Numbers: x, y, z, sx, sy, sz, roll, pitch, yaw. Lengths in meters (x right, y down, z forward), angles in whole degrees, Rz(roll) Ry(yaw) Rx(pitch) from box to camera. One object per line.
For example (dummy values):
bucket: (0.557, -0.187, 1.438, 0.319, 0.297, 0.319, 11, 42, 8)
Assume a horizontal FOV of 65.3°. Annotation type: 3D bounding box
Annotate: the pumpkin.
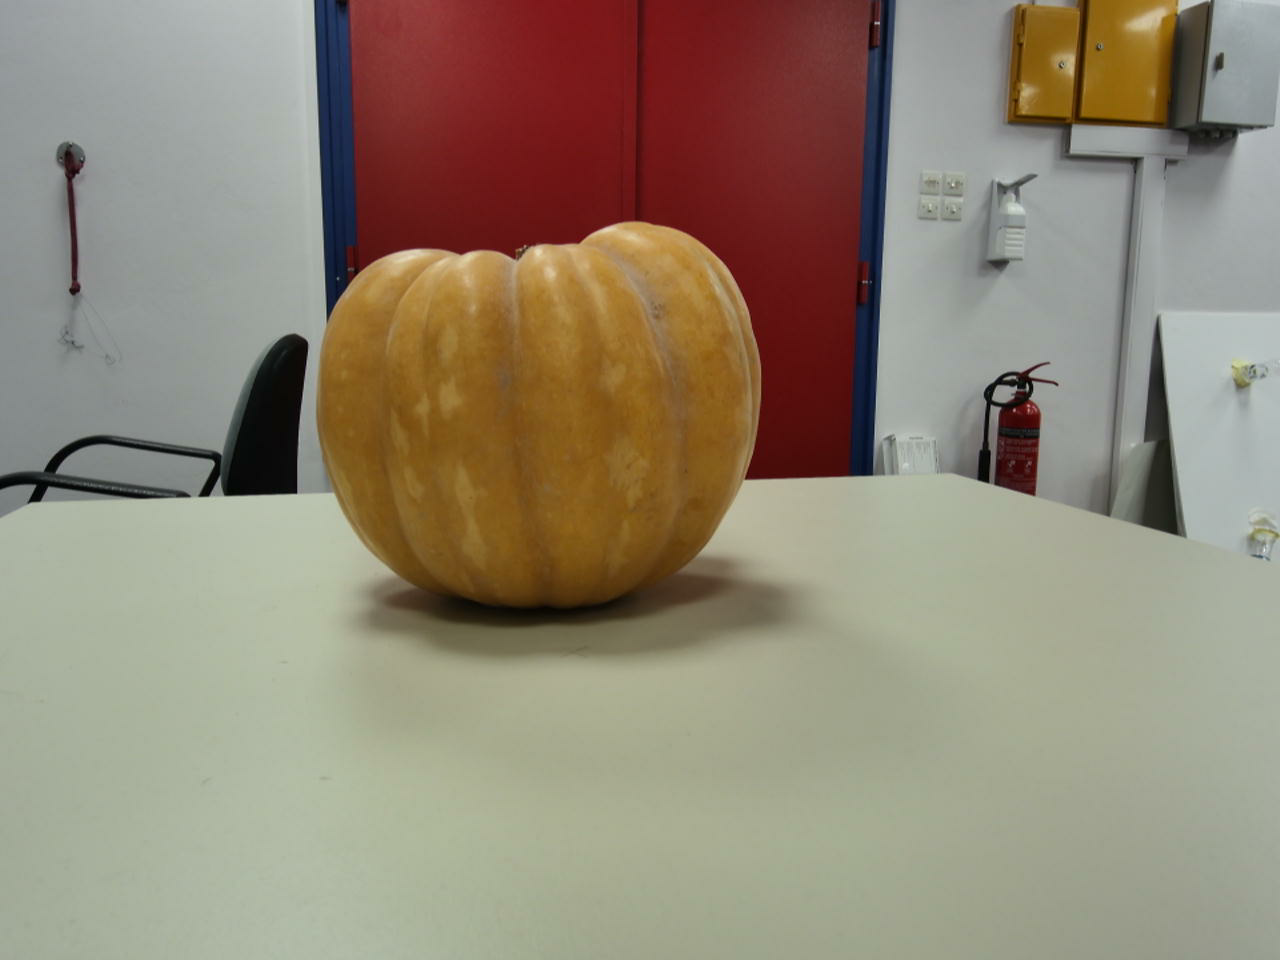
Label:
pumpkin: (-0.047, -0.034, 0.524, 0.230, 0.194, 0.230, 0, 7, 0)
